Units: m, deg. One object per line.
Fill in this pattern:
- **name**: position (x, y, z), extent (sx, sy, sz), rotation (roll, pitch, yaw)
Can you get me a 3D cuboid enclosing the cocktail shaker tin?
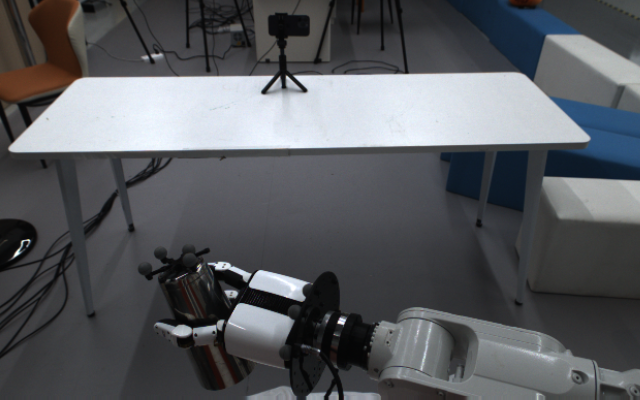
- **cocktail shaker tin**: position (-0.158, 0.166, 0.668), extent (0.093, 0.170, 0.093), rotation (-17, 20, 6)
